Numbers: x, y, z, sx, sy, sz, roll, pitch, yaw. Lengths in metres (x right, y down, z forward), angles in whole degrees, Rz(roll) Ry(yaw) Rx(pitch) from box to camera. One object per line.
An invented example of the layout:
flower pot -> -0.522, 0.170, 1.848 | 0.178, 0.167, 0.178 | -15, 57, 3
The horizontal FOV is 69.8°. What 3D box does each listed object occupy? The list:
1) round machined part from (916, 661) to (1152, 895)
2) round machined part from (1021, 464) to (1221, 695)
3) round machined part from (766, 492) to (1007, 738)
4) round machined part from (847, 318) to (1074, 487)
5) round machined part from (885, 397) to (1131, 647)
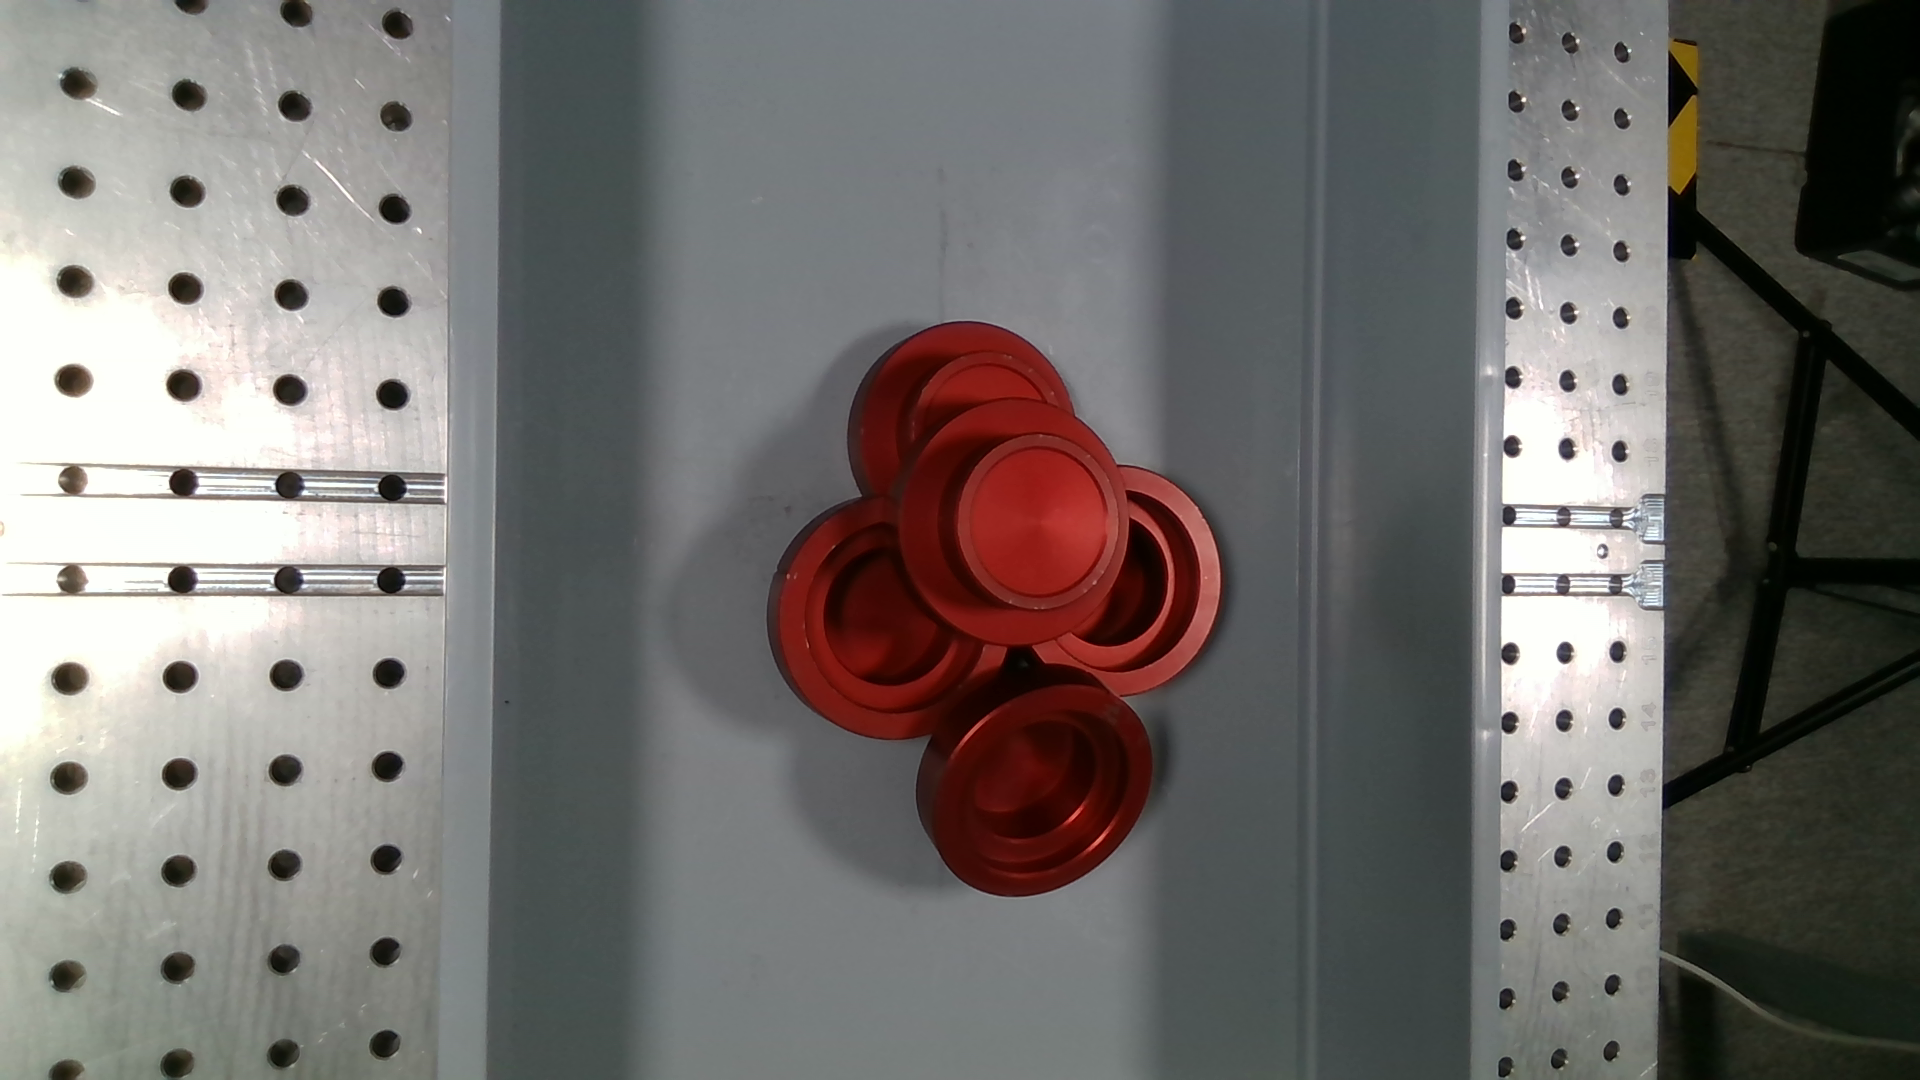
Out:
round machined part -> 0.027, 0.095, 0.575 | 0.098, 0.042, 0.098 | -8, 114, -20
round machined part -> 0.060, 0.017, 0.598 | 0.098, 0.042, 0.098 | 0, 90, -20
round machined part -> -0.031, 0.030, 0.564 | 0.098, 0.042, 0.098 | 0, 90, -20
round machined part -> 0.006, -0.044, 0.576 | 0.098, 0.042, 0.098 | 0, 90, -20
round machined part -> 0.024, -0.007, 0.538 | 0.098, 0.042, 0.098 | 0, 90, -20
